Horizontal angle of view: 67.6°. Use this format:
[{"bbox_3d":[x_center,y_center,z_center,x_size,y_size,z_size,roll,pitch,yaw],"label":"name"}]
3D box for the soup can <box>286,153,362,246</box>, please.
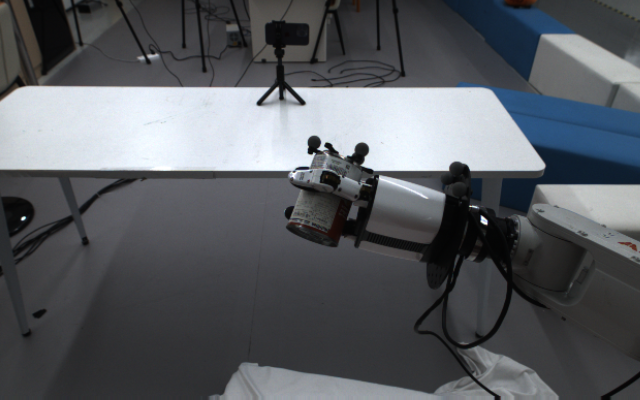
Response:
[{"bbox_3d":[0.008,0.000,0.604,0.067,0.067,0.101,15,75,18],"label":"soup can"}]
